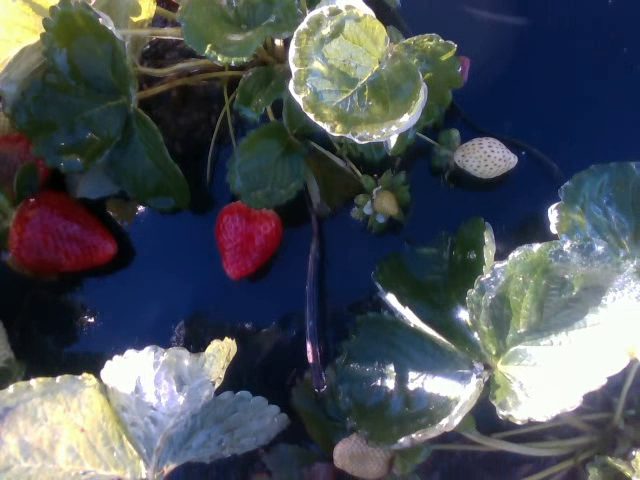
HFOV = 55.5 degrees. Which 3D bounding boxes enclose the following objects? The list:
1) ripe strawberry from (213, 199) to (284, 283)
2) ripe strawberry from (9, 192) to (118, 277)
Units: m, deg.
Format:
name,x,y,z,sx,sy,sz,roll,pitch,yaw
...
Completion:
name,x,y,z,sx,sy,sz,roll,pitch,yaw
ripe strawberry,-0.035,0.001,0.296,0.039,0.047,0.040,12,-7,-4
ripe strawberry,-0.129,0.000,0.304,0.056,0.044,0.040,23,3,-5
